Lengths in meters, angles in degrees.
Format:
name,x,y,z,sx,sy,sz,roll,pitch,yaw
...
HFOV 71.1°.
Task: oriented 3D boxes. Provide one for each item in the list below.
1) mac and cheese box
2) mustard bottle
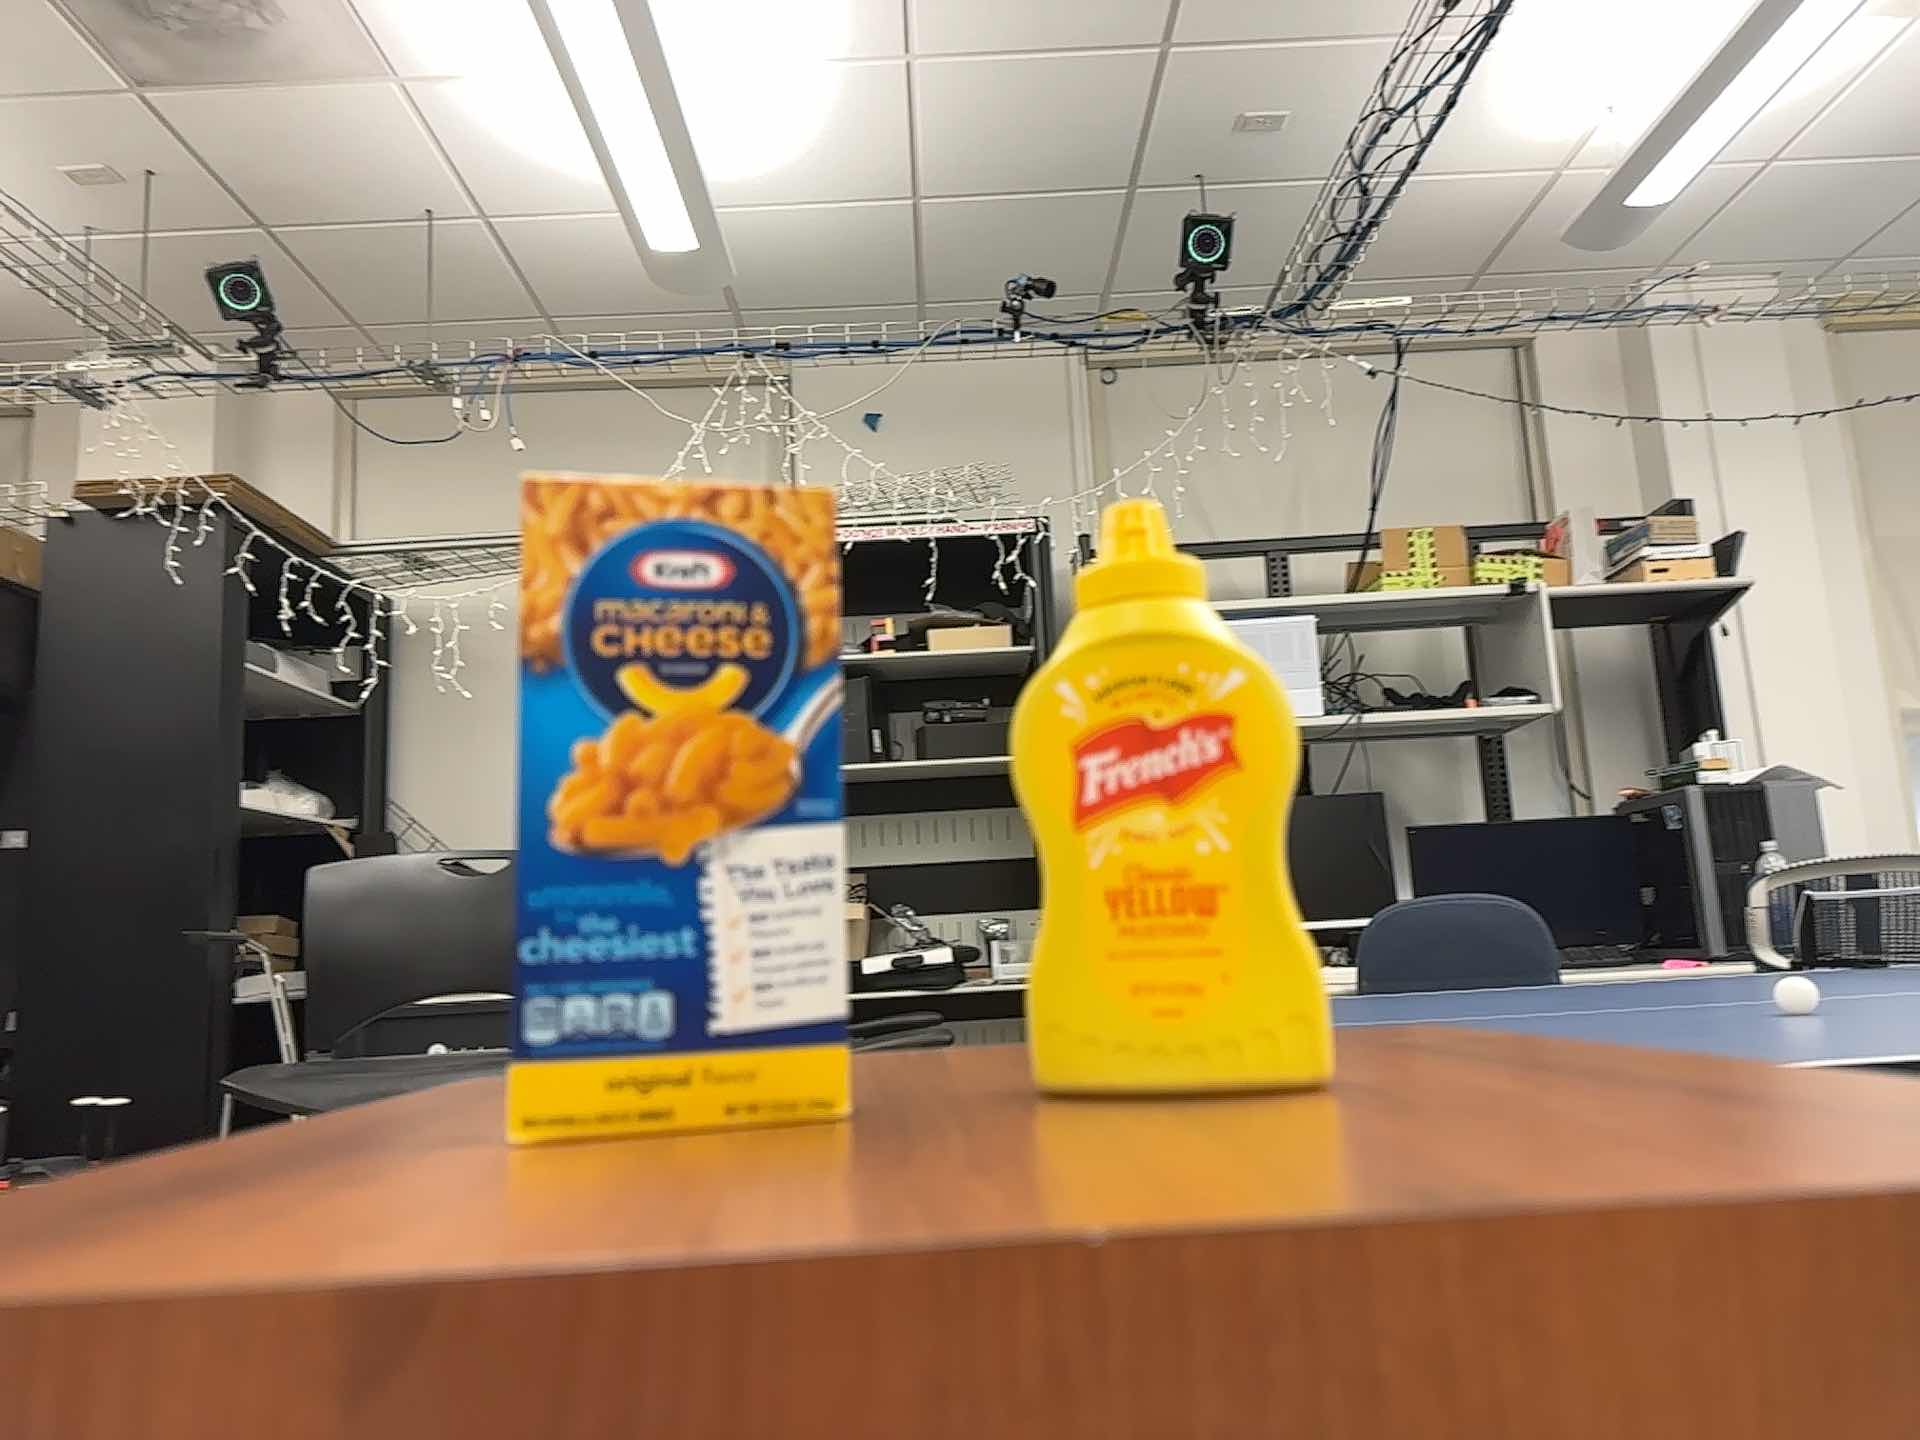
name,x,y,z,sx,sy,sz,roll,pitch,yaw
mac and cheese box,-0.081,0.023,0.389,0.088,0.181,0.035,-2,-9,-7
mustard bottle,0.060,0.019,0.407,0.092,0.184,0.054,-6,-9,16
